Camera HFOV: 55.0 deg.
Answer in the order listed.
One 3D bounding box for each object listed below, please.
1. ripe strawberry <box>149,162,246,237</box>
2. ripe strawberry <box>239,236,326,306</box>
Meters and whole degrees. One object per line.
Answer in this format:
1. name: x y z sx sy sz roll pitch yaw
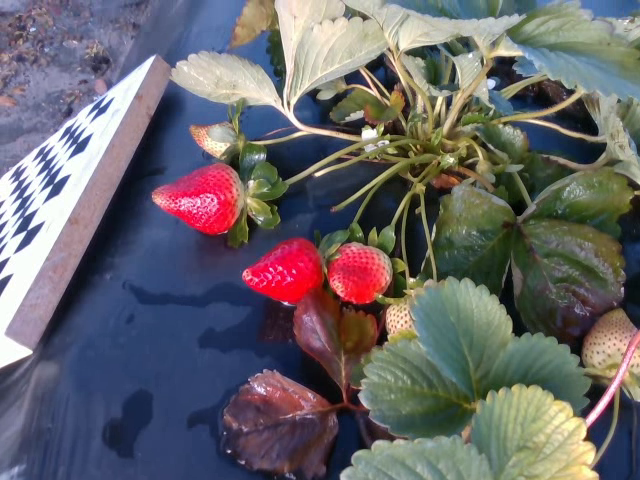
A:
1. ripe strawberry: -0.080 -0.031 0.396 0.065 0.050 0.050 4 18 -25
2. ripe strawberry: -0.025 0.018 0.352 0.055 0.042 0.044 -4 4 -38
